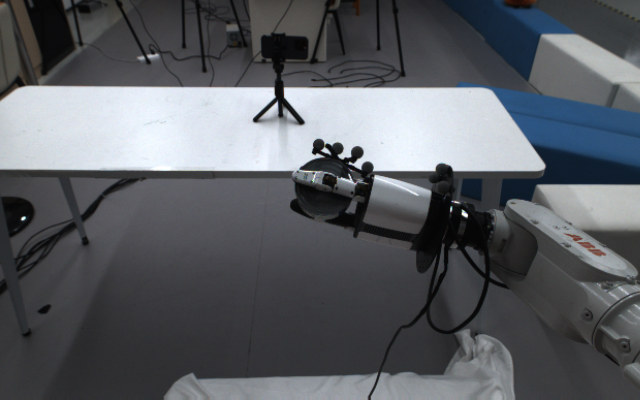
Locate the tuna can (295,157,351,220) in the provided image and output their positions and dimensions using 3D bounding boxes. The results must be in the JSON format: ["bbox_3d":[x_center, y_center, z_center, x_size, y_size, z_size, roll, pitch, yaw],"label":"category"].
[{"bbox_3d":[0.008,-0.017,0.695,0.085,0.034,0.085,0,72,0],"label":"tuna can"}]
